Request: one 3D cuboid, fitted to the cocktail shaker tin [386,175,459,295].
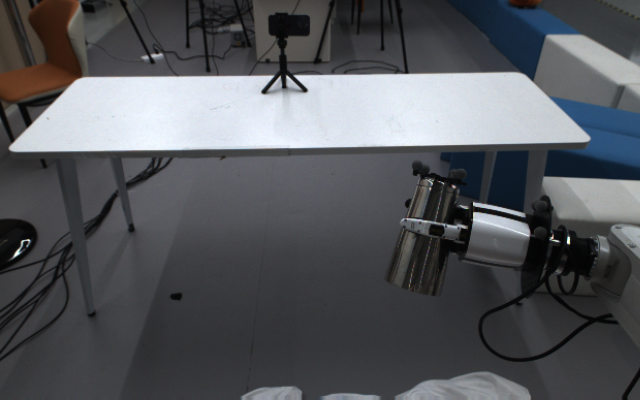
[{"bbox_3d":[0.166,0.054,0.768,0.093,0.170,0.093,14,2,-1],"label":"cocktail shaker tin"}]
